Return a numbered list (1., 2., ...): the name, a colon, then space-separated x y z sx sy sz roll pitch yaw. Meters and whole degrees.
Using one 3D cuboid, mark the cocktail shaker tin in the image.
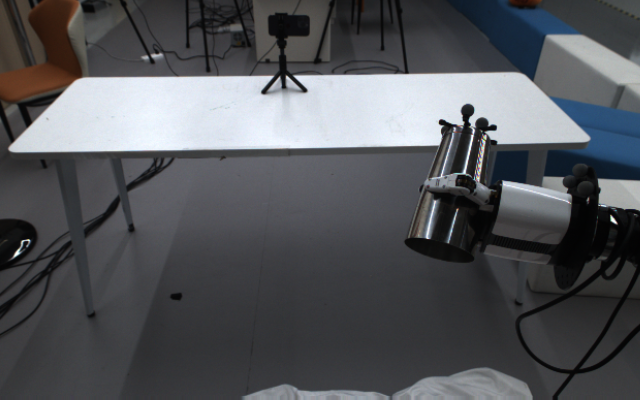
1. cocktail shaker tin: 0.181 -0.011 0.655 0.093 0.093 0.170 14 73 16
